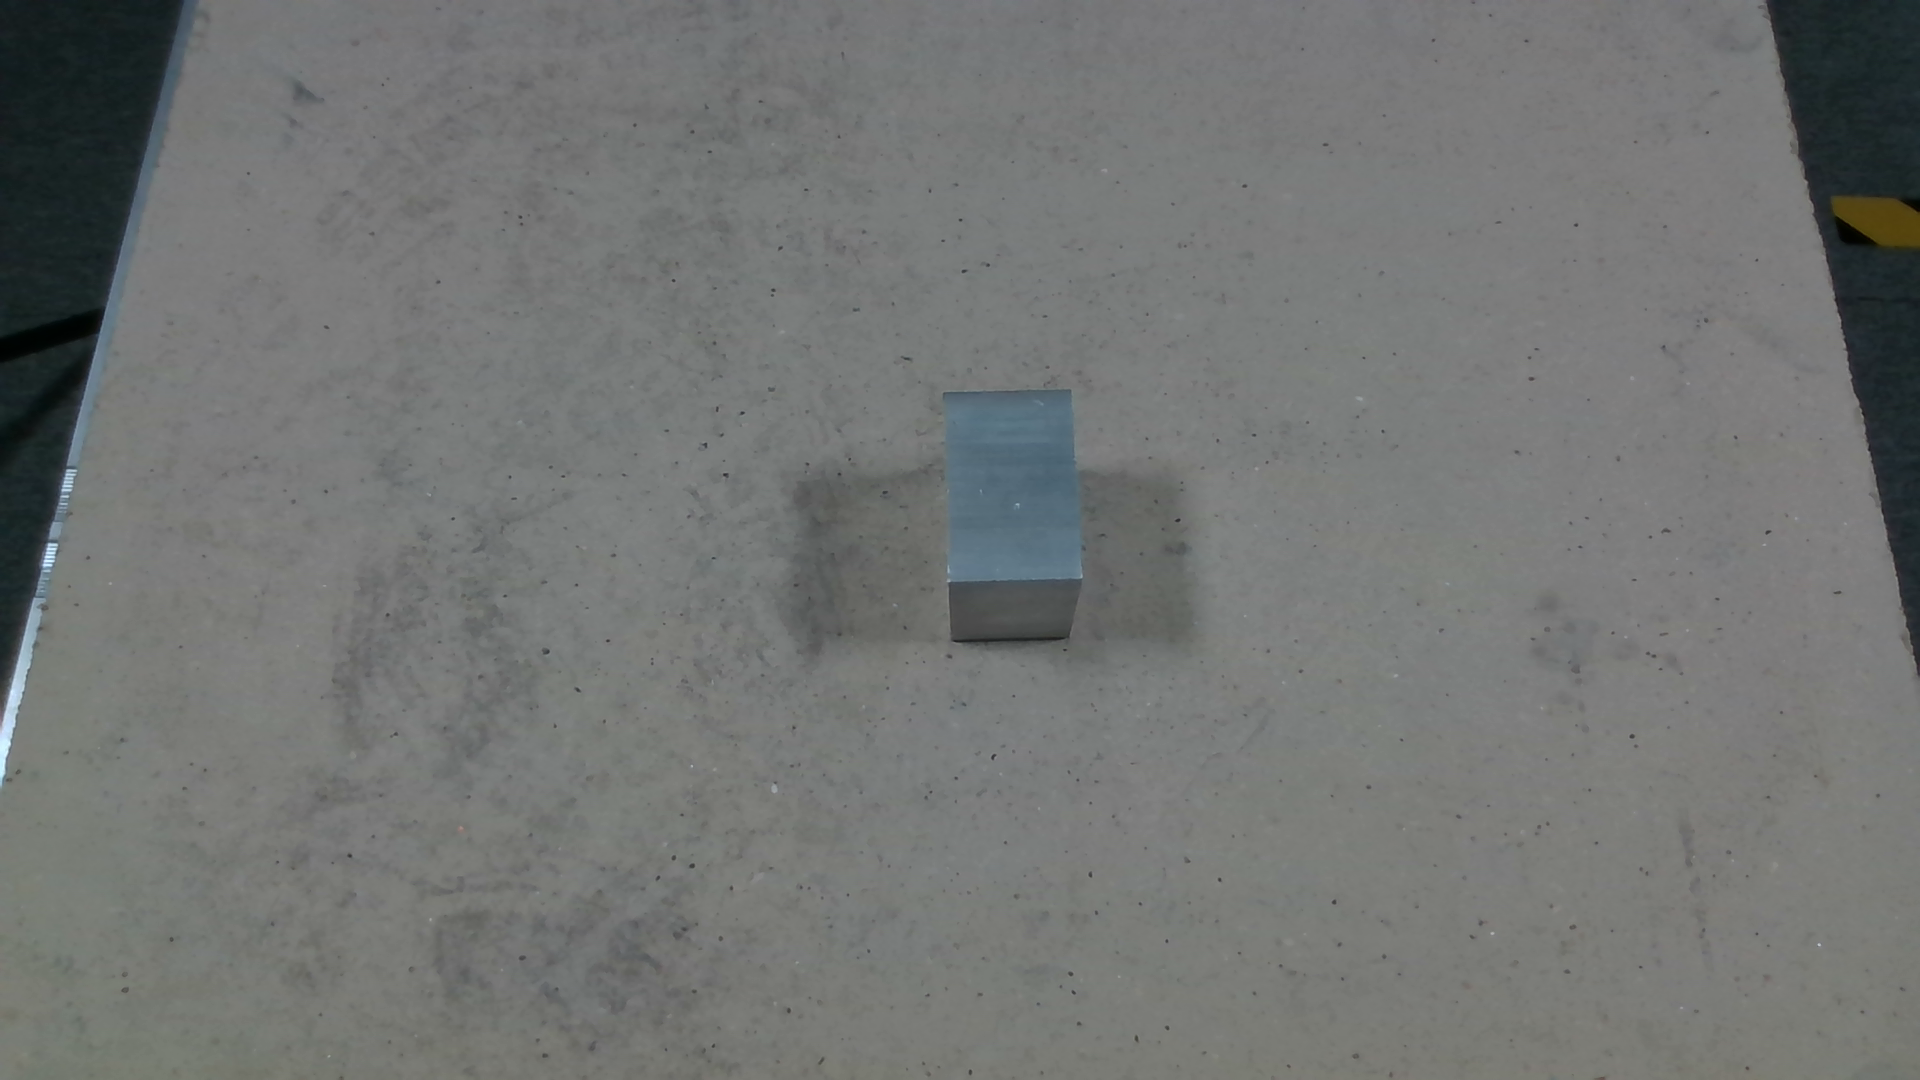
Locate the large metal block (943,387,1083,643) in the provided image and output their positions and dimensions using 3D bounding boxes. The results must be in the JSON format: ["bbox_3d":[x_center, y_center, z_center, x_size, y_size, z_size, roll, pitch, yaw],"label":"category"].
[{"bbox_3d":[0.020,-0.008,0.562,0.050,0.080,0.080,-1,70,0],"label":"large metal block"}]
